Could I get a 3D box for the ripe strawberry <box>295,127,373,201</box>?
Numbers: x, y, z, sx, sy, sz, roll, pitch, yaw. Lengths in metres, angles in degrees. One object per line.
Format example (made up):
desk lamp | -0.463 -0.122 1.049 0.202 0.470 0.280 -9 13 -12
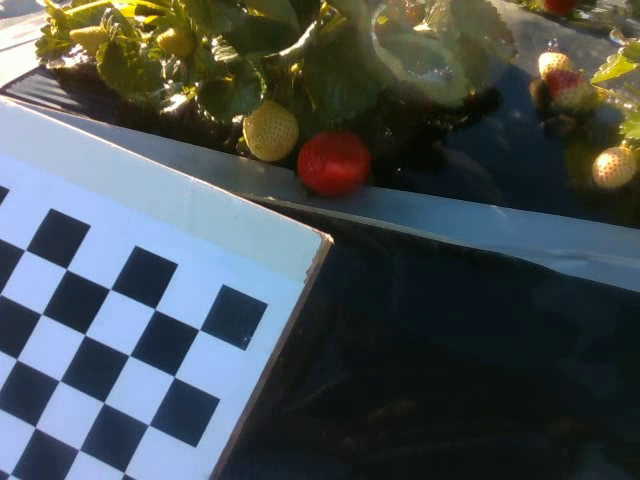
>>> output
ripe strawberry | 0.008 -0.043 0.352 0.045 0.049 0.064 -43 15 0
